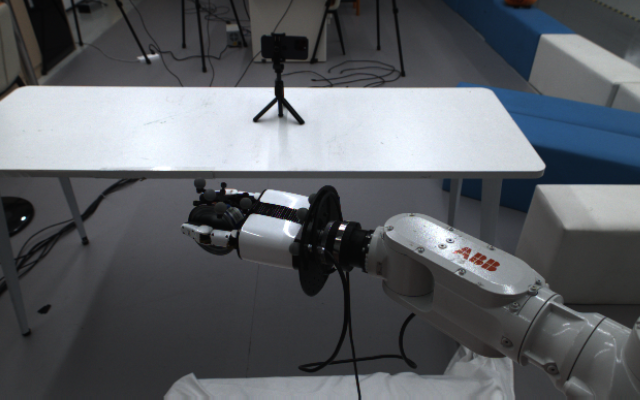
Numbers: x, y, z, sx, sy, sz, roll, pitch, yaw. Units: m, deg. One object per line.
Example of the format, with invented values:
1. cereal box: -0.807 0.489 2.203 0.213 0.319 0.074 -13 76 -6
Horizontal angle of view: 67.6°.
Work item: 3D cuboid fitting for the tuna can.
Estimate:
1. tuna can: -0.153 0.039 0.732 0.085 0.085 0.034 16 28 19
